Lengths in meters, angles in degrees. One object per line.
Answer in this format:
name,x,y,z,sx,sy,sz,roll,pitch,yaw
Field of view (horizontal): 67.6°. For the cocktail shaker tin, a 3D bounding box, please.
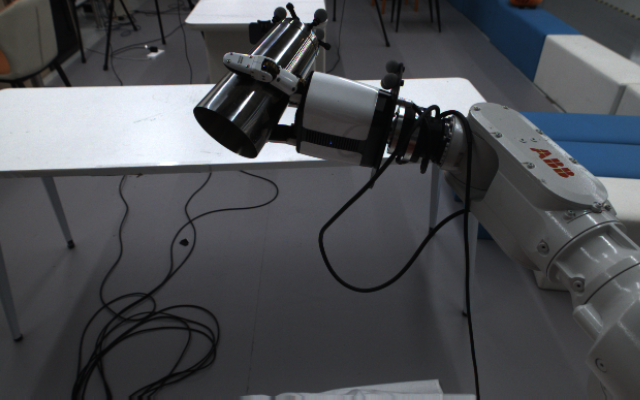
cocktail shaker tin,-0.071,-0.152,0.610,0.093,0.093,0.170,22,67,26
